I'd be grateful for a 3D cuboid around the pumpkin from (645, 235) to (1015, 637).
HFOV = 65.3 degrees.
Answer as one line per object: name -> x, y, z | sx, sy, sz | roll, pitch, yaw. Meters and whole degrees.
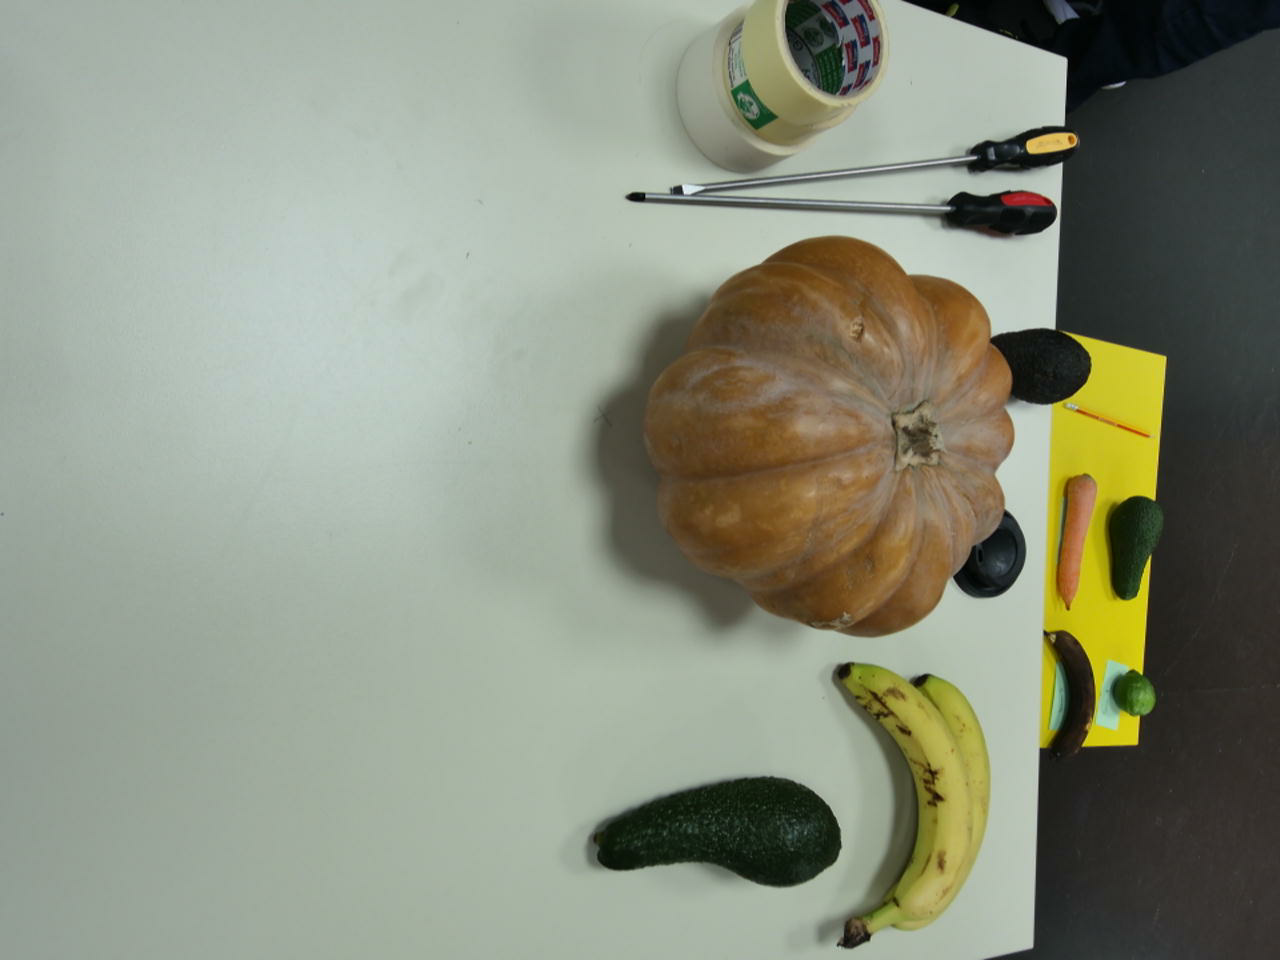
pumpkin -> 0.133, -0.029, 0.682 | 0.277, 0.181, 0.277 | -1, 91, -29
